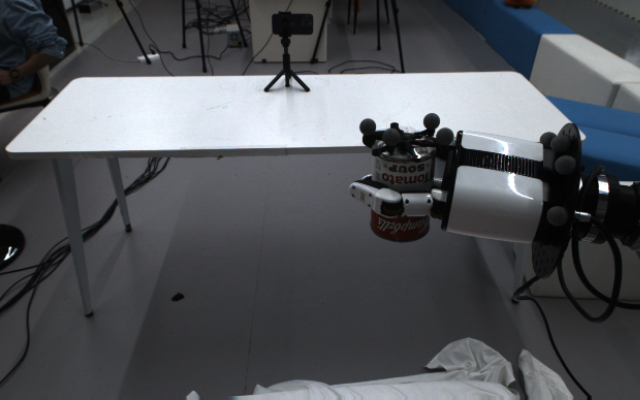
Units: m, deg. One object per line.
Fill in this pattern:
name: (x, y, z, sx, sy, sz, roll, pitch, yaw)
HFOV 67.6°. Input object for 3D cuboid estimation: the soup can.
soup can: (0.092, -0.014, 0.529, 0.067, 0.101, 0.067, -2, 33, 1)
